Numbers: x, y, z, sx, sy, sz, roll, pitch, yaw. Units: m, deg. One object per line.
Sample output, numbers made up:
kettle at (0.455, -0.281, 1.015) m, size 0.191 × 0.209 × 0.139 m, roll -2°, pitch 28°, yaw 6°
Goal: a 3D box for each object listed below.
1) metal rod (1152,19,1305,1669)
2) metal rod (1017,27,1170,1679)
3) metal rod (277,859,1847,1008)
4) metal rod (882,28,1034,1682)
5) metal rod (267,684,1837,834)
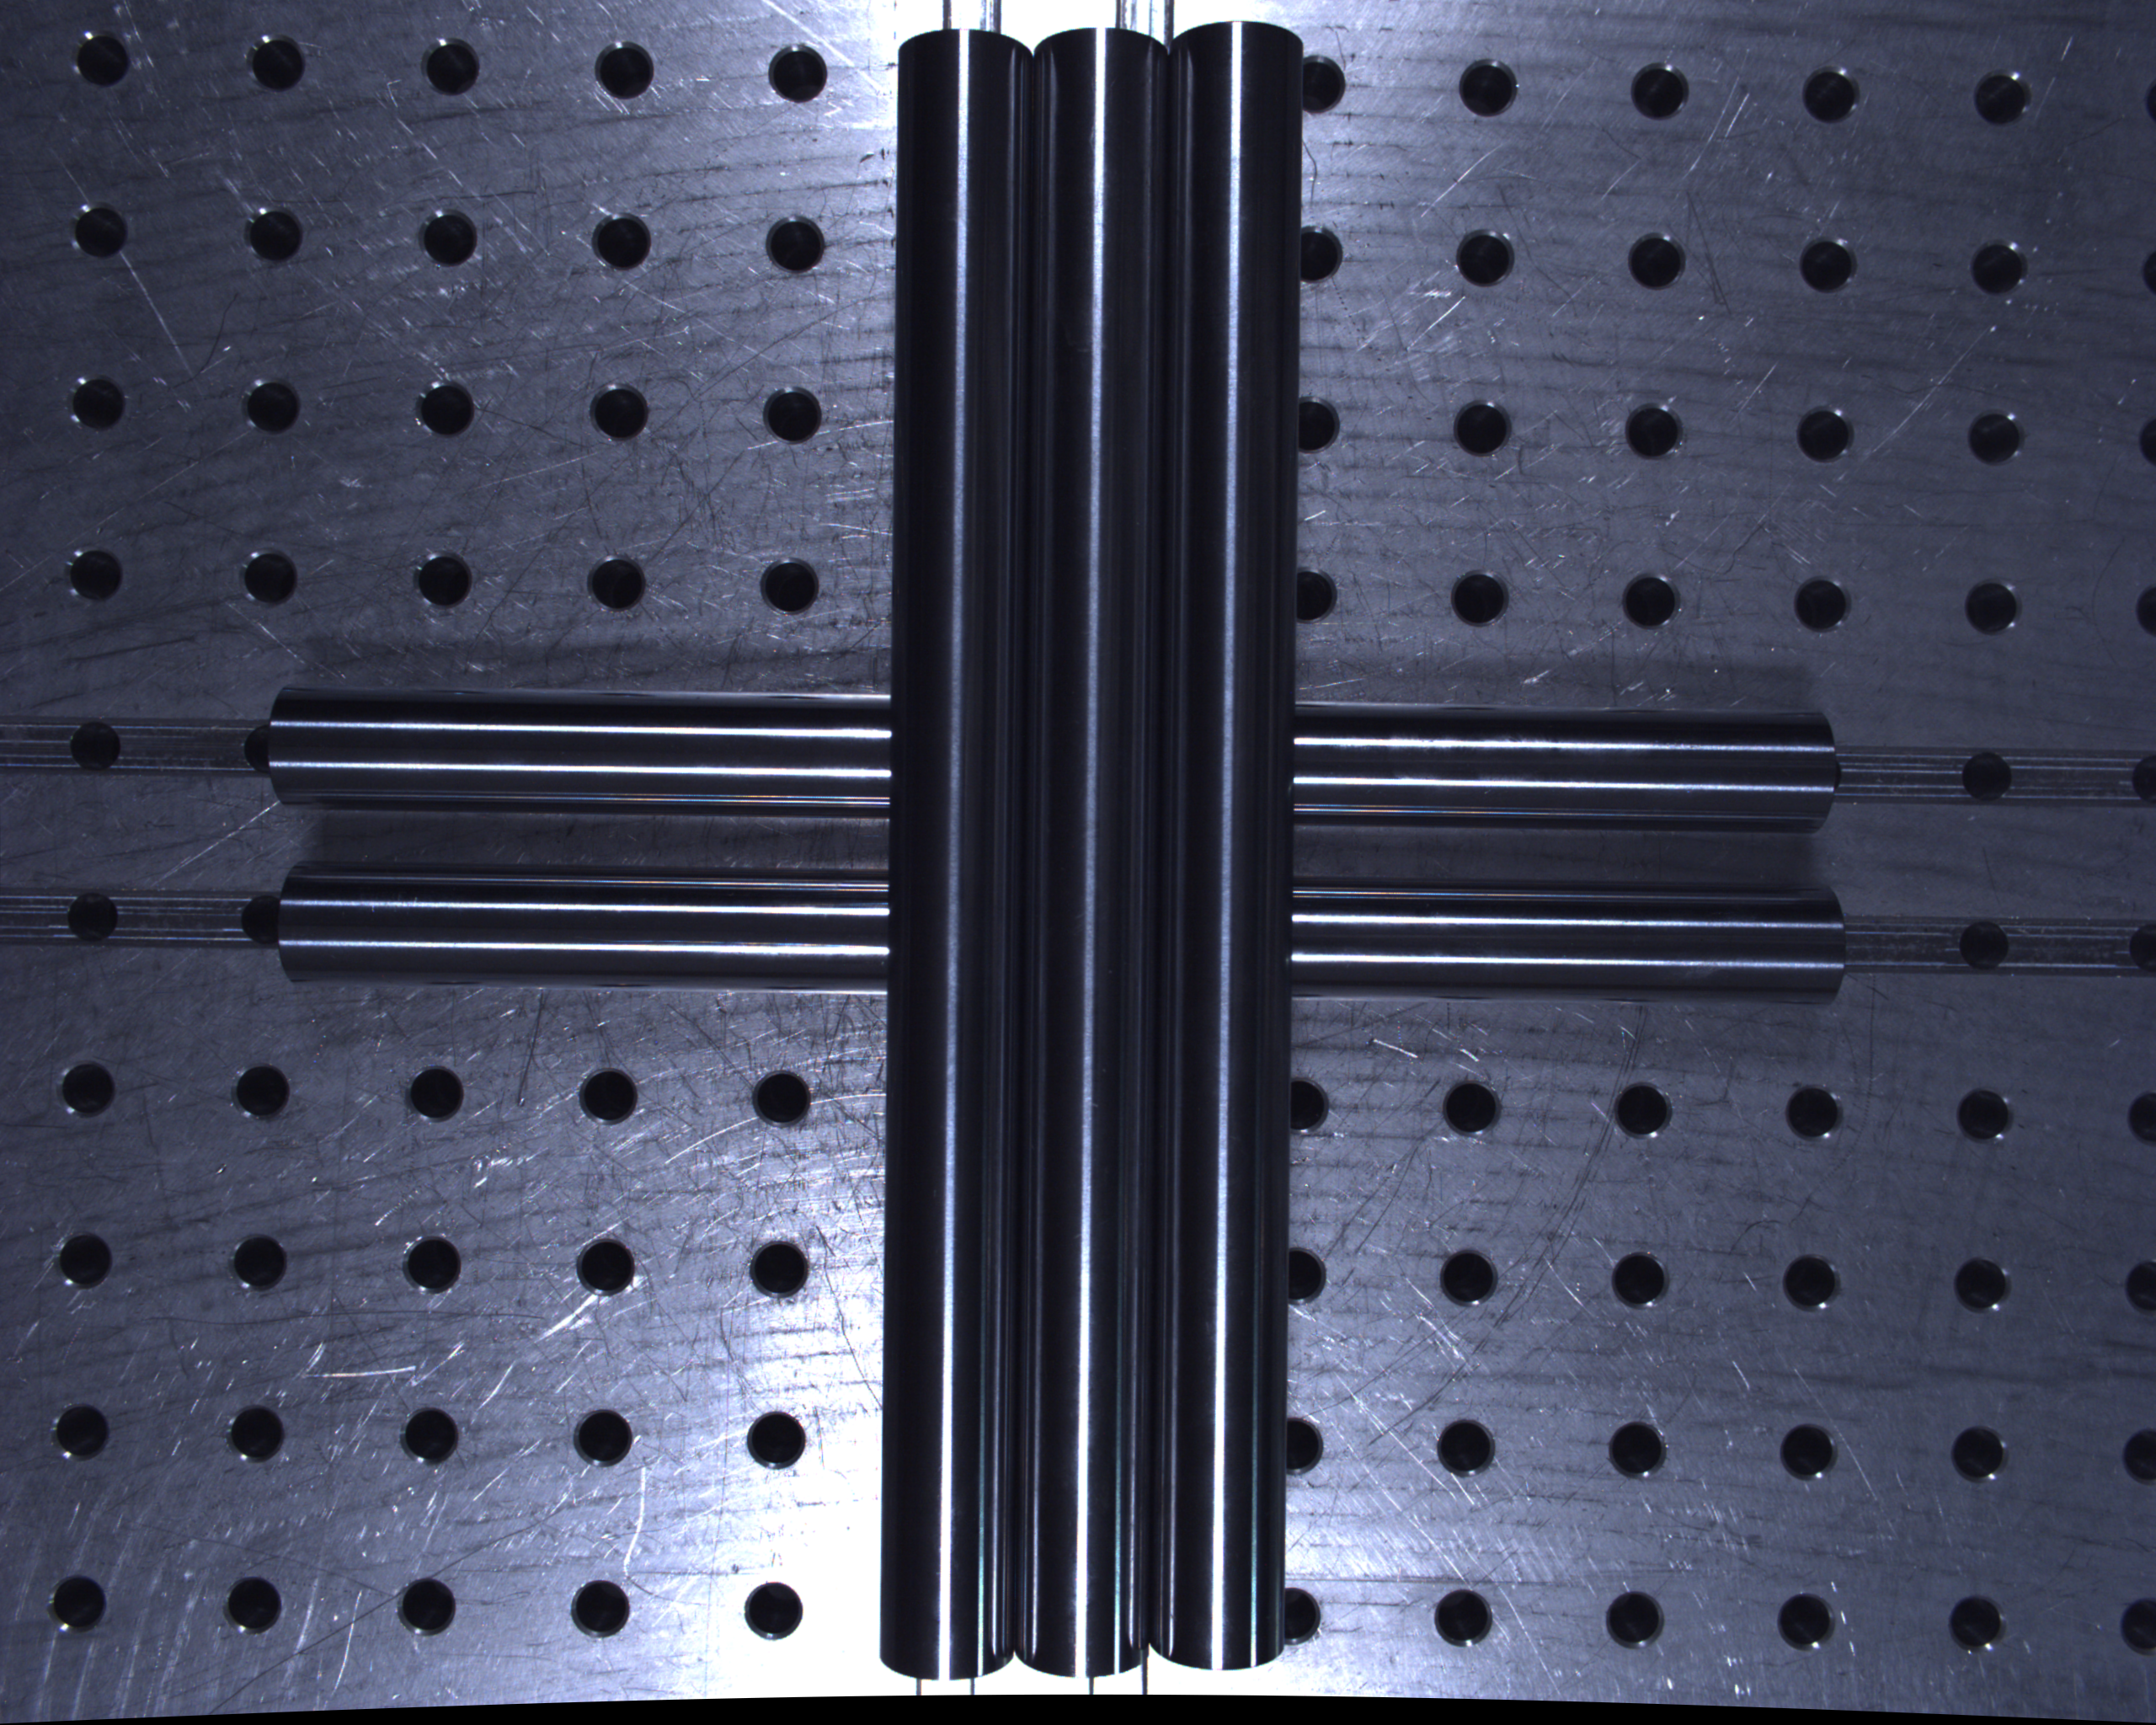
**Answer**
metal rod at (0.028, -0.003, 0.389) m, size 0.025 × 0.025 × 0.298 m, roll 1°, pitch 90°, yaw -1°
metal rod at (0.003, -0.002, 0.389) m, size 0.025 × 0.025 × 0.298 m, roll 1°, pitch 90°, yaw -1°
metal rod at (-0.002, 0.014, 0.414) m, size 0.302 × 0.025 × 0.025 m, roll 1°, pitch 90°, yaw -1°
metal rod at (-0.022, -0.001, 0.388) m, size 0.025 × 0.025 × 0.298 m, roll 1°, pitch 90°, yaw -1°
metal rod at (-0.004, -0.021, 0.413) m, size 0.302 × 0.025 × 0.025 m, roll 1°, pitch 90°, yaw -1°
